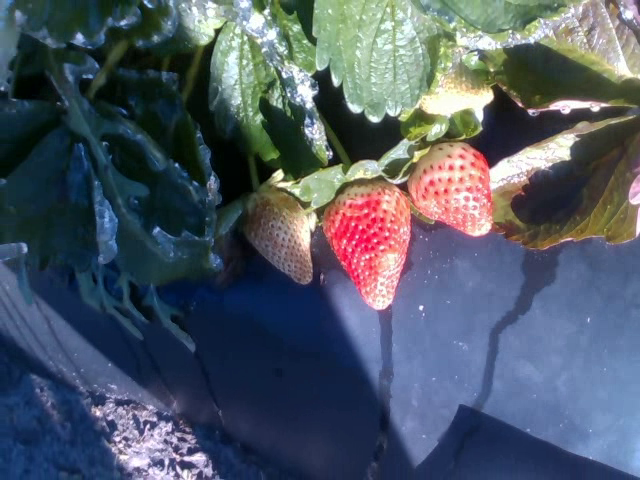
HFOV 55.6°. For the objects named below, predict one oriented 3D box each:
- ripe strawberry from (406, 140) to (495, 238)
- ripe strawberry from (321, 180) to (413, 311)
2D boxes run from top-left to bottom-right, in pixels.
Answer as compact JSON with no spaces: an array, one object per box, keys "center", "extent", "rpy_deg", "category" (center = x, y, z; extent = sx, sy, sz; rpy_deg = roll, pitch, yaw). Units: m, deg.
[{"center":[0.052,-0.018,0.224],"extent":[0.036,0.041,0.030],"rpy_deg":[-44,4,42],"category":"ripe strawberry"},{"center":[0.021,0.006,0.234],"extent":[0.036,0.052,0.039],"rpy_deg":[-15,-9,34],"category":"ripe strawberry"}]
